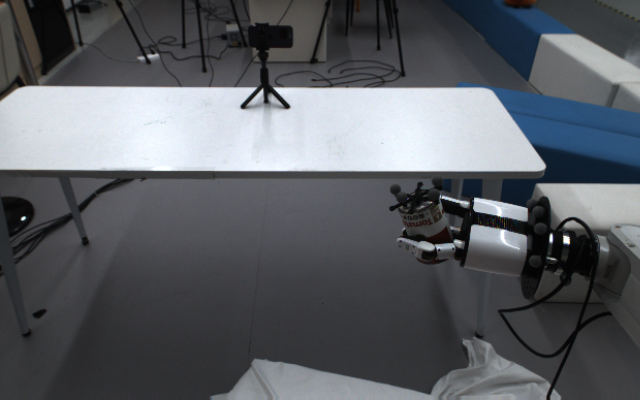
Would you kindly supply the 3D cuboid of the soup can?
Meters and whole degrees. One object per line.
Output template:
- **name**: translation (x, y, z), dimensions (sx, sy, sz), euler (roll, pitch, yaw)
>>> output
- **soup can**: translation (0.171, 0.041, 0.766), dimensions (0.067, 0.101, 0.067), euler (-21, 24, 10)
